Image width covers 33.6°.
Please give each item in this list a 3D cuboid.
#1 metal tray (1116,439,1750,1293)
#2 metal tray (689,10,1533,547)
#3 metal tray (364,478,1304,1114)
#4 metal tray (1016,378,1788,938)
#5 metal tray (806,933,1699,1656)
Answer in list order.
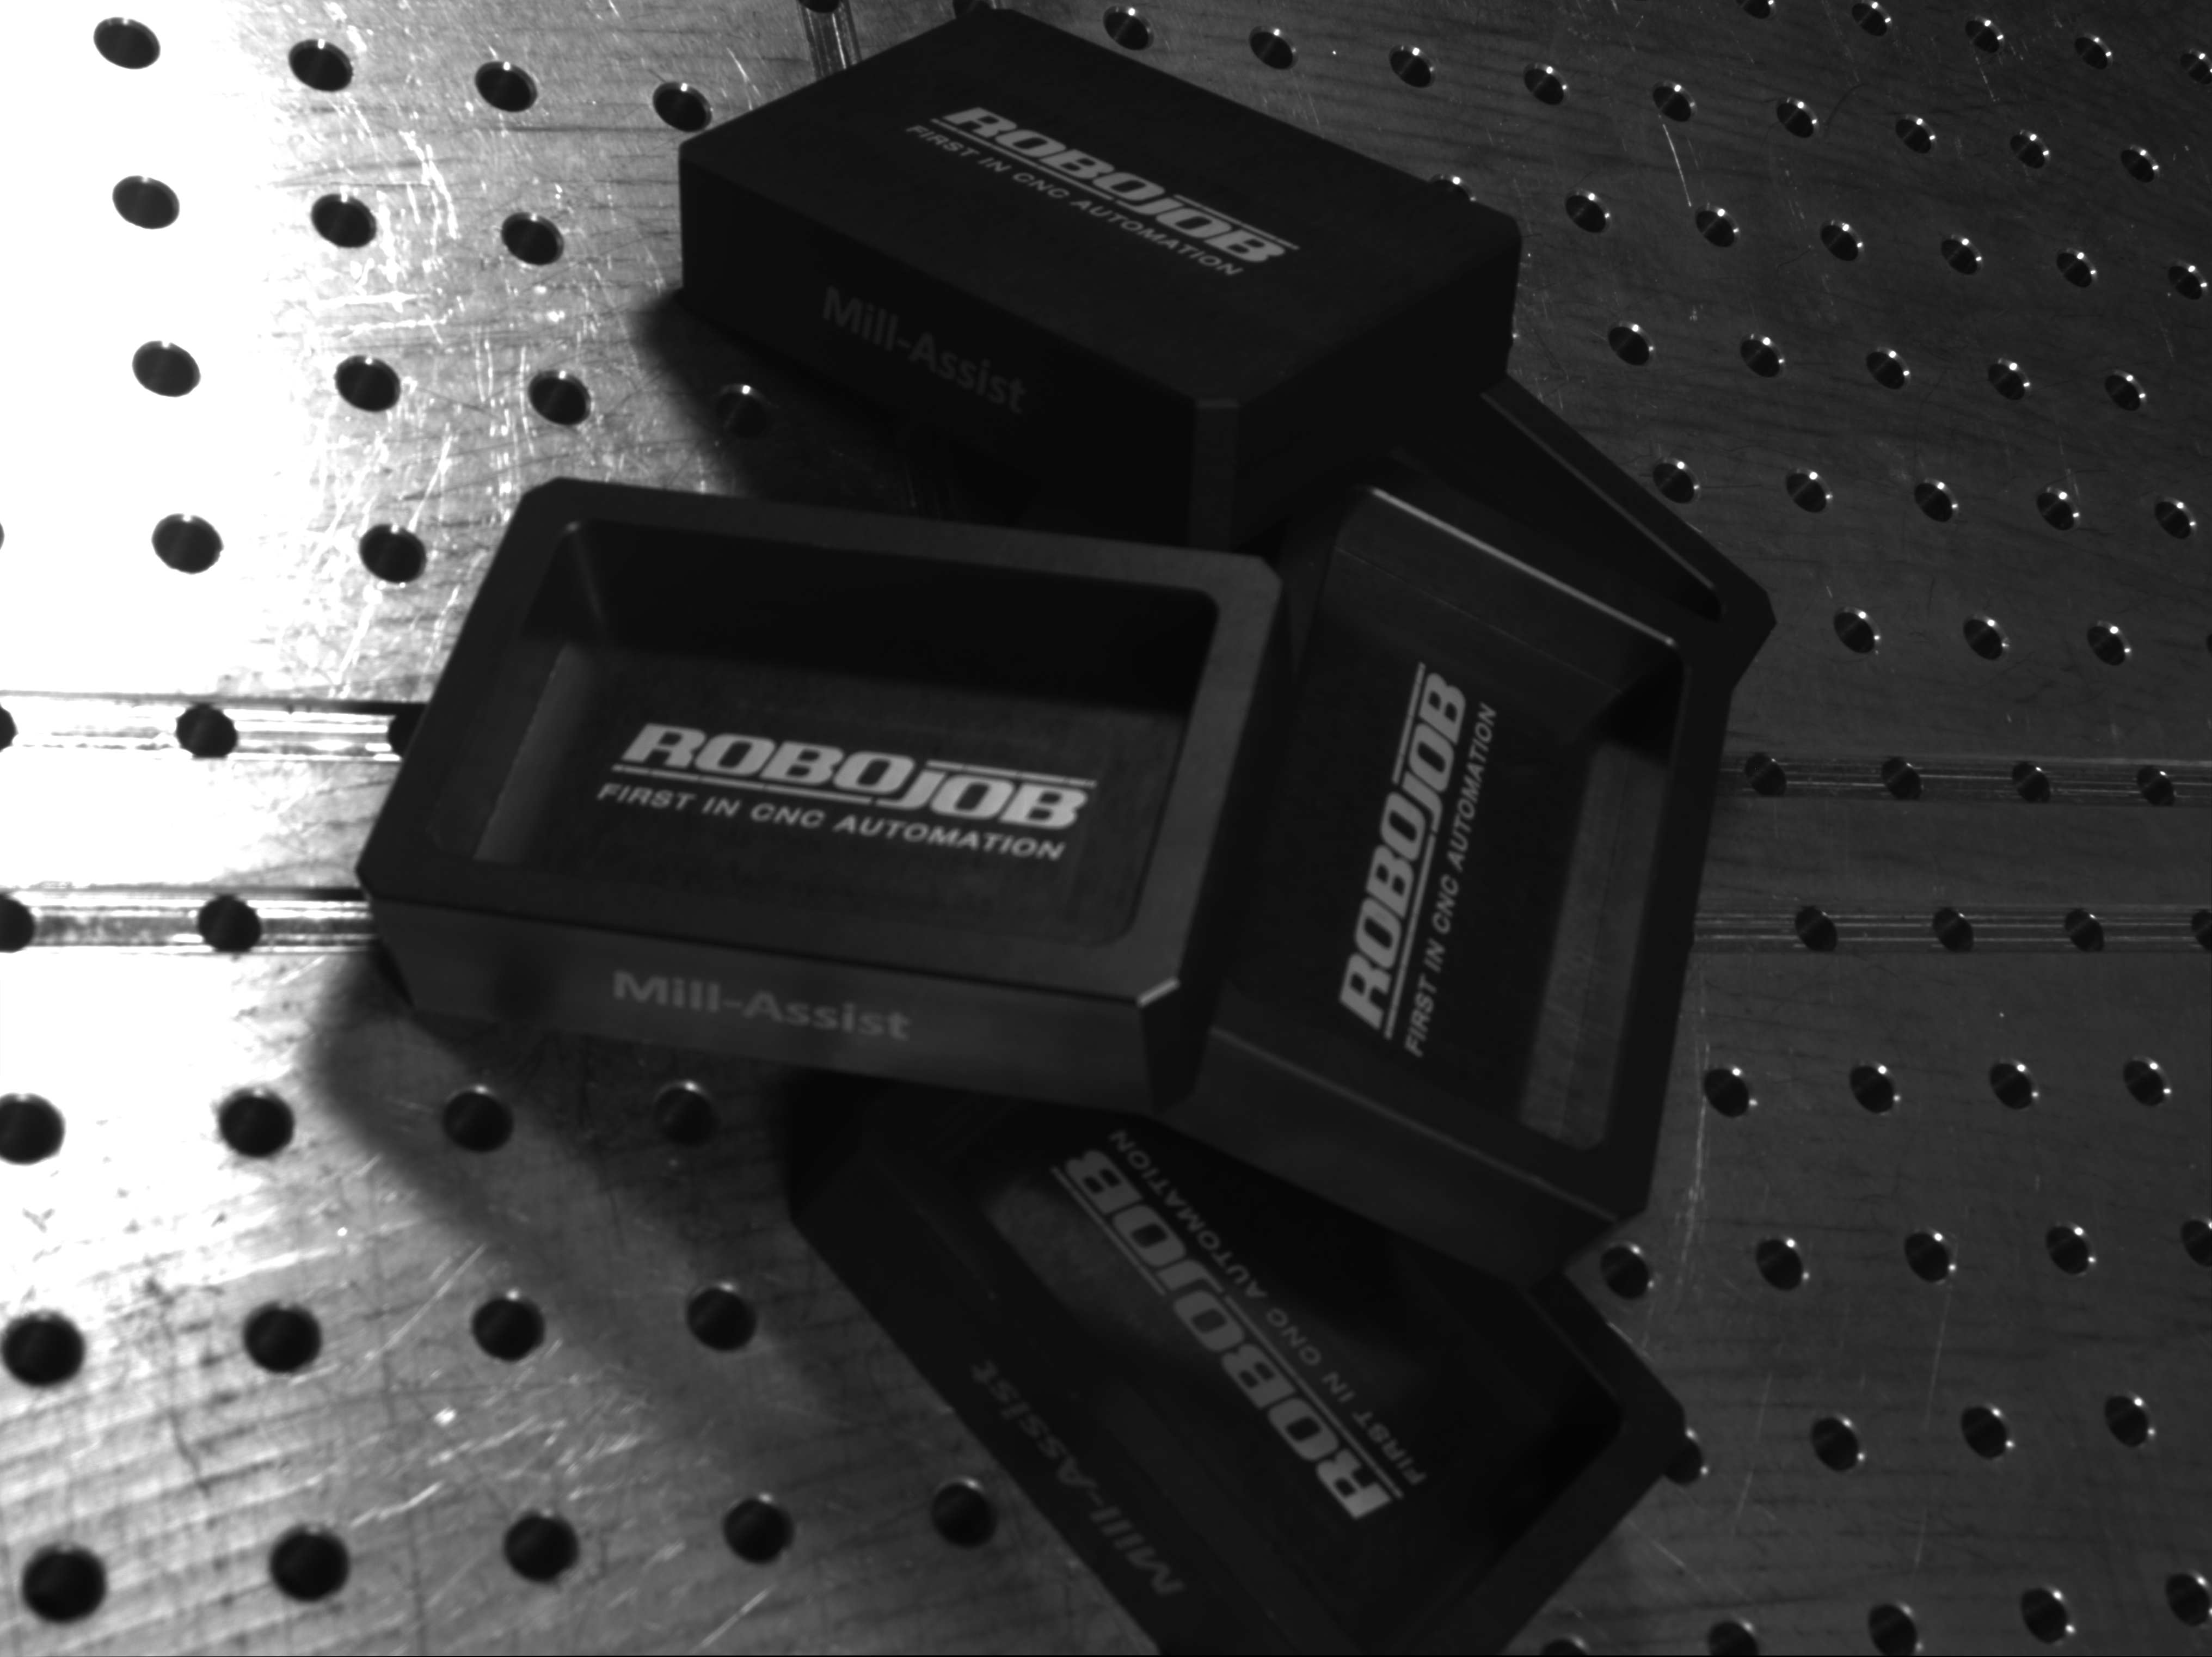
[{"bbox_3d":[0.058,0.004,0.630,0.090,0.030,0.130,26,53,-12],"label":"metal tray"},{"bbox_3d":[0.000,-0.103,0.663,0.130,0.030,0.090,29,44,30],"label":"metal tray"},{"bbox_3d":[-0.041,-0.008,0.583,0.130,0.030,0.090,7,53,12],"label":"metal tray"},{"bbox_3d":[0.058,-0.051,0.702,0.130,0.030,0.090,40,51,-1],"label":"metal tray"},{"bbox_3d":[0.025,0.081,0.603,0.130,0.030,0.090,48,51,6],"label":"metal tray"}]
